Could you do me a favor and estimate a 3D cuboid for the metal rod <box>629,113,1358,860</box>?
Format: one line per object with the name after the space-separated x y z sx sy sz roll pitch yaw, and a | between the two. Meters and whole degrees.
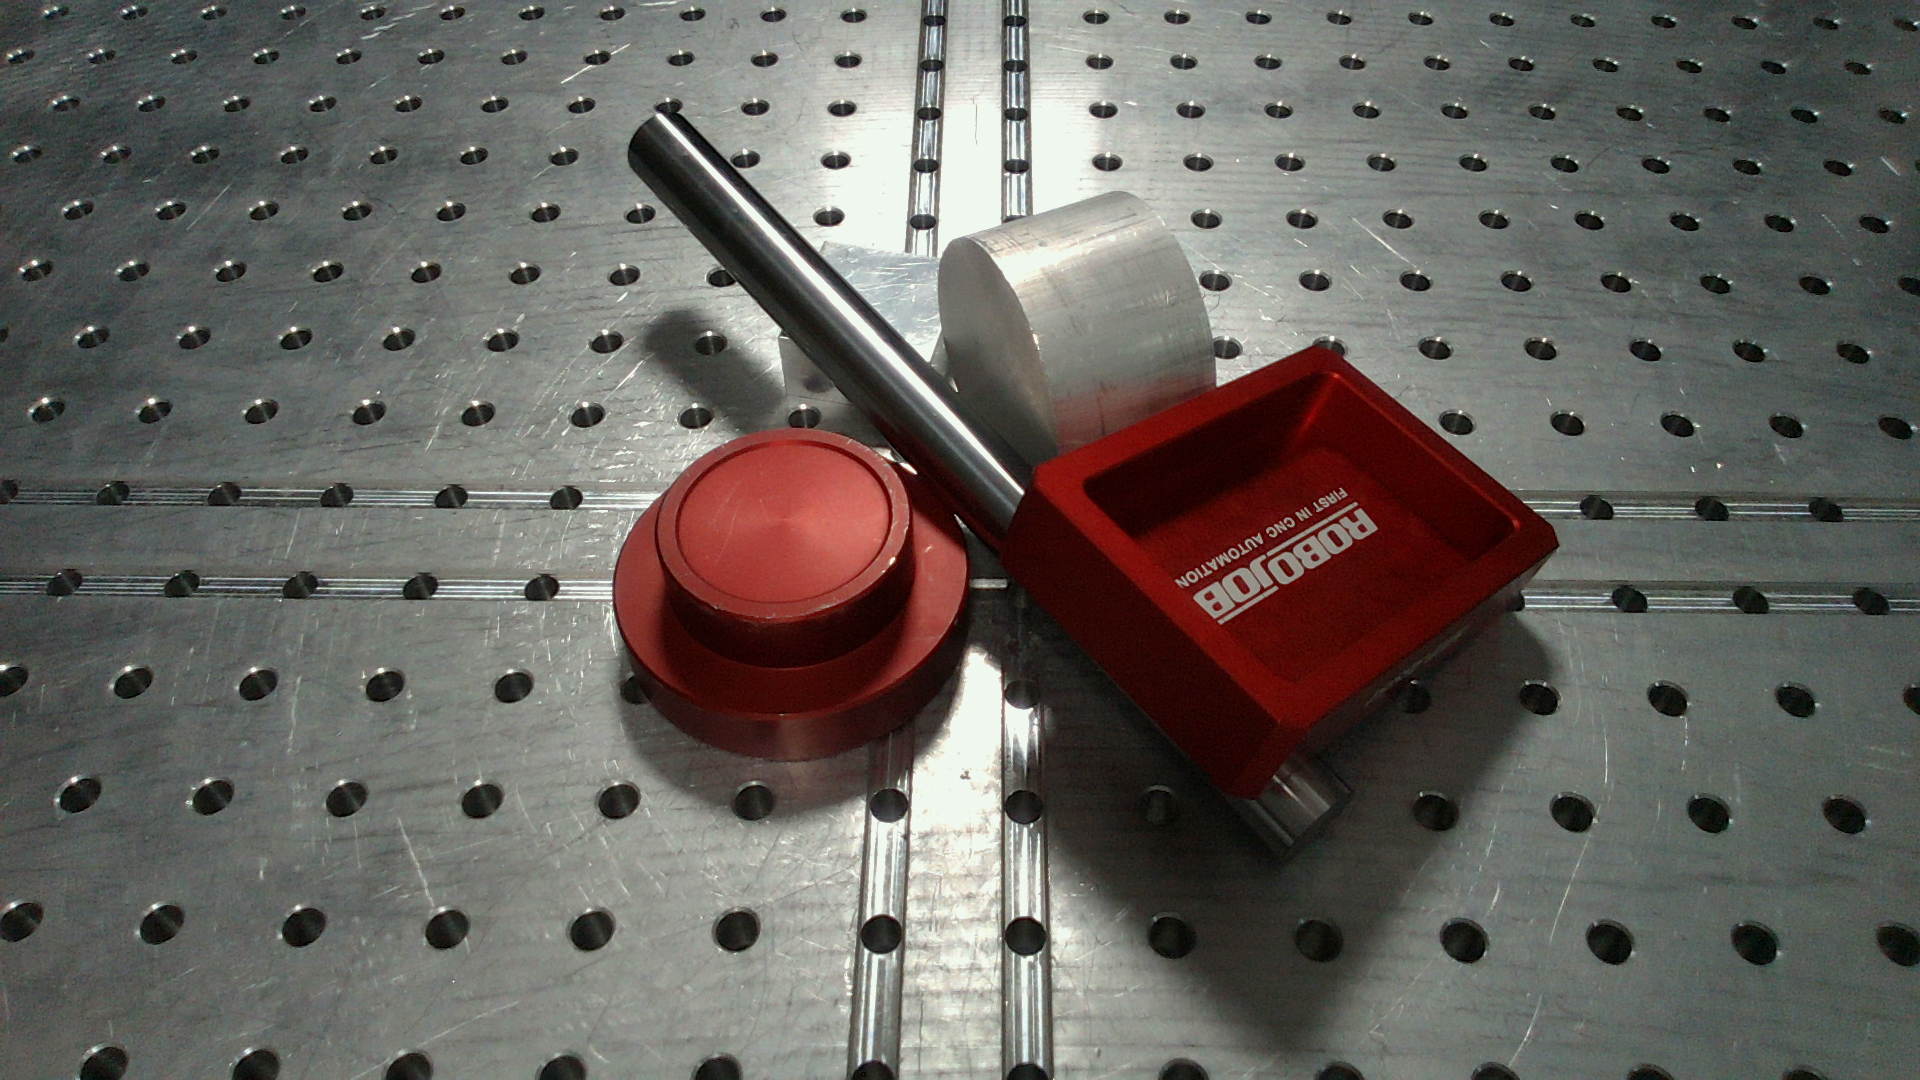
-0.005 -0.030 0.398 0.025 0.025 0.299 -32 65 -24 | metal rod

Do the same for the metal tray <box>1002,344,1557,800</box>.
0.087 0.001 0.363 0.130 0.030 0.090 -25 60 -38 | metal tray

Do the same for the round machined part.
-0.047 0.007 0.376 0.098 0.042 0.098 0 50 0 | round machined part

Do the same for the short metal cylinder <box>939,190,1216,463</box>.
0.033 -0.057 0.407 0.050 0.080 0.080 -20 53 -16 | short metal cylinder

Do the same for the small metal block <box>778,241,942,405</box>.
-0.027 -0.070 0.454 0.050 0.025 0.050 10 51 9 | small metal block
